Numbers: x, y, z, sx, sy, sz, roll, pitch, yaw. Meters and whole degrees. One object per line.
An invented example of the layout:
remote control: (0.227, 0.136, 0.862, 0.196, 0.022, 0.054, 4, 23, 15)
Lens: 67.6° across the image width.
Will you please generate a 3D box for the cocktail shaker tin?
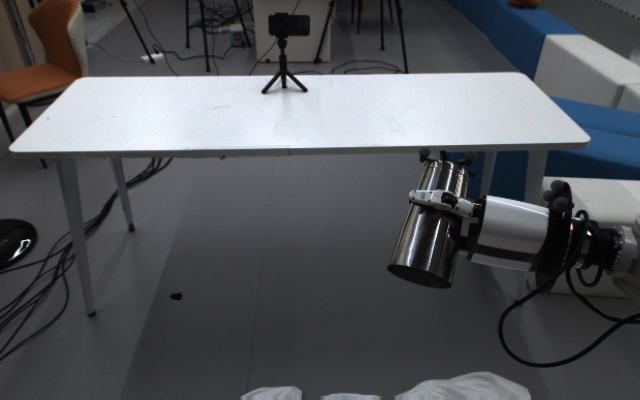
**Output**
cocktail shaker tin: (0.163, 0.031, 0.701, 0.093, 0.093, 0.170, 14, 69, 17)
